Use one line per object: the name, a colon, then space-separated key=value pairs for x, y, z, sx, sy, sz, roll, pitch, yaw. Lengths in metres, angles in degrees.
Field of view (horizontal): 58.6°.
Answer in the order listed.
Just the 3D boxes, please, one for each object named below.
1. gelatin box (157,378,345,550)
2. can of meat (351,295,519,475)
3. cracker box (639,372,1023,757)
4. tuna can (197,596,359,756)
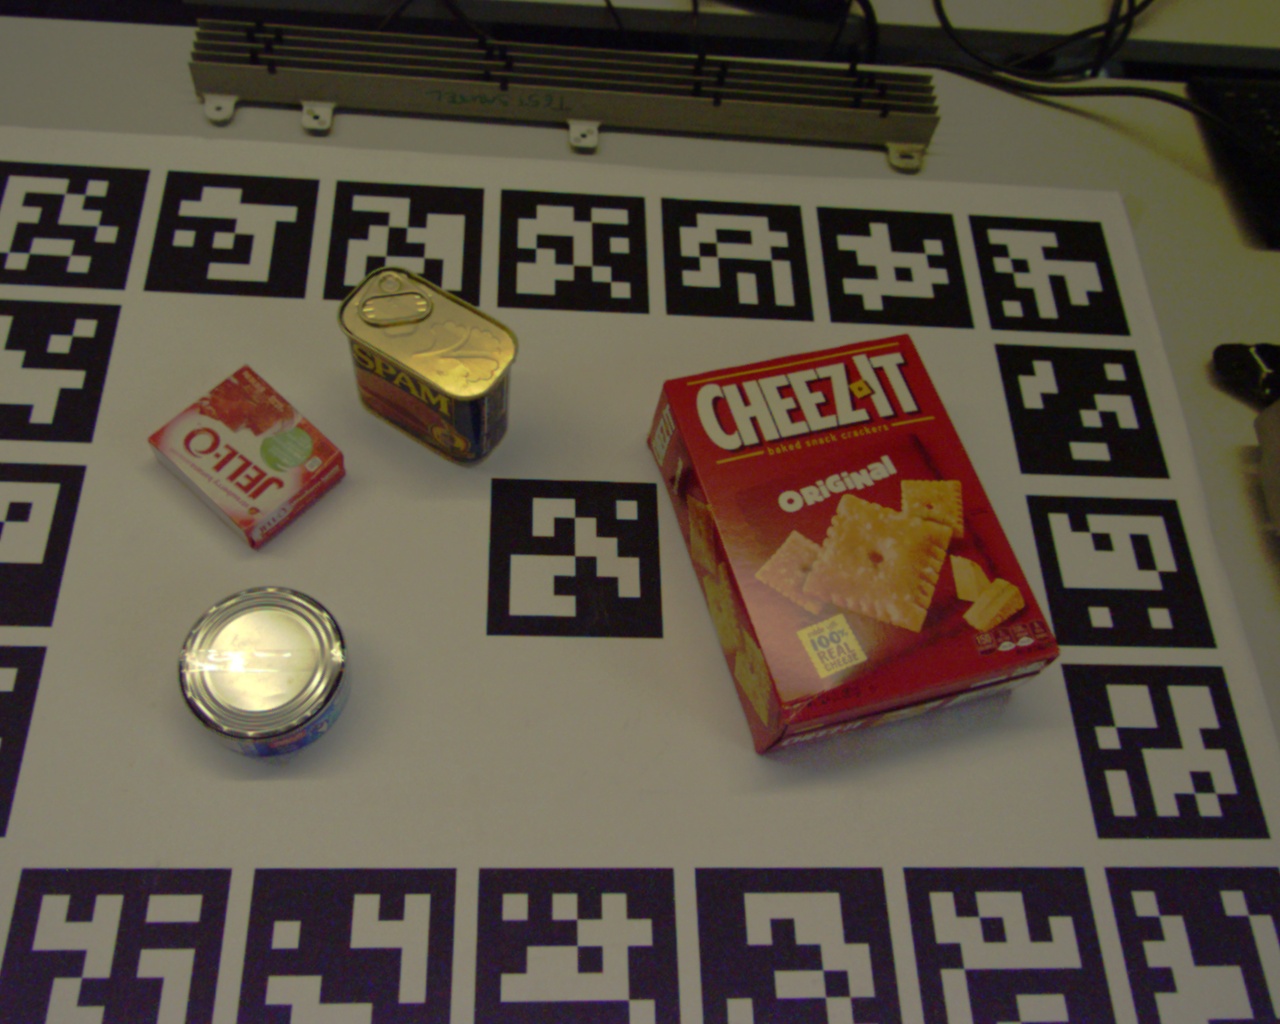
gelatin box: x=-0.243 y=-0.032 z=0.715 sx=0.090 sy=0.030 sz=0.073 roll=40 pitch=61 yaw=11
can of meat: x=-0.131 y=-0.078 z=0.733 sx=0.102 sy=0.084 sz=0.057 roll=28 pitch=61 yaw=9
cracker box: x=0.113 y=0.024 z=0.713 sx=0.163 sy=0.072 sz=0.215 roll=-13 pitch=63 yaw=-16
tuna can: x=-0.204 y=0.094 z=0.647 sx=0.085 sy=0.034 sz=0.086 roll=2 pitch=65 yaw=-5
